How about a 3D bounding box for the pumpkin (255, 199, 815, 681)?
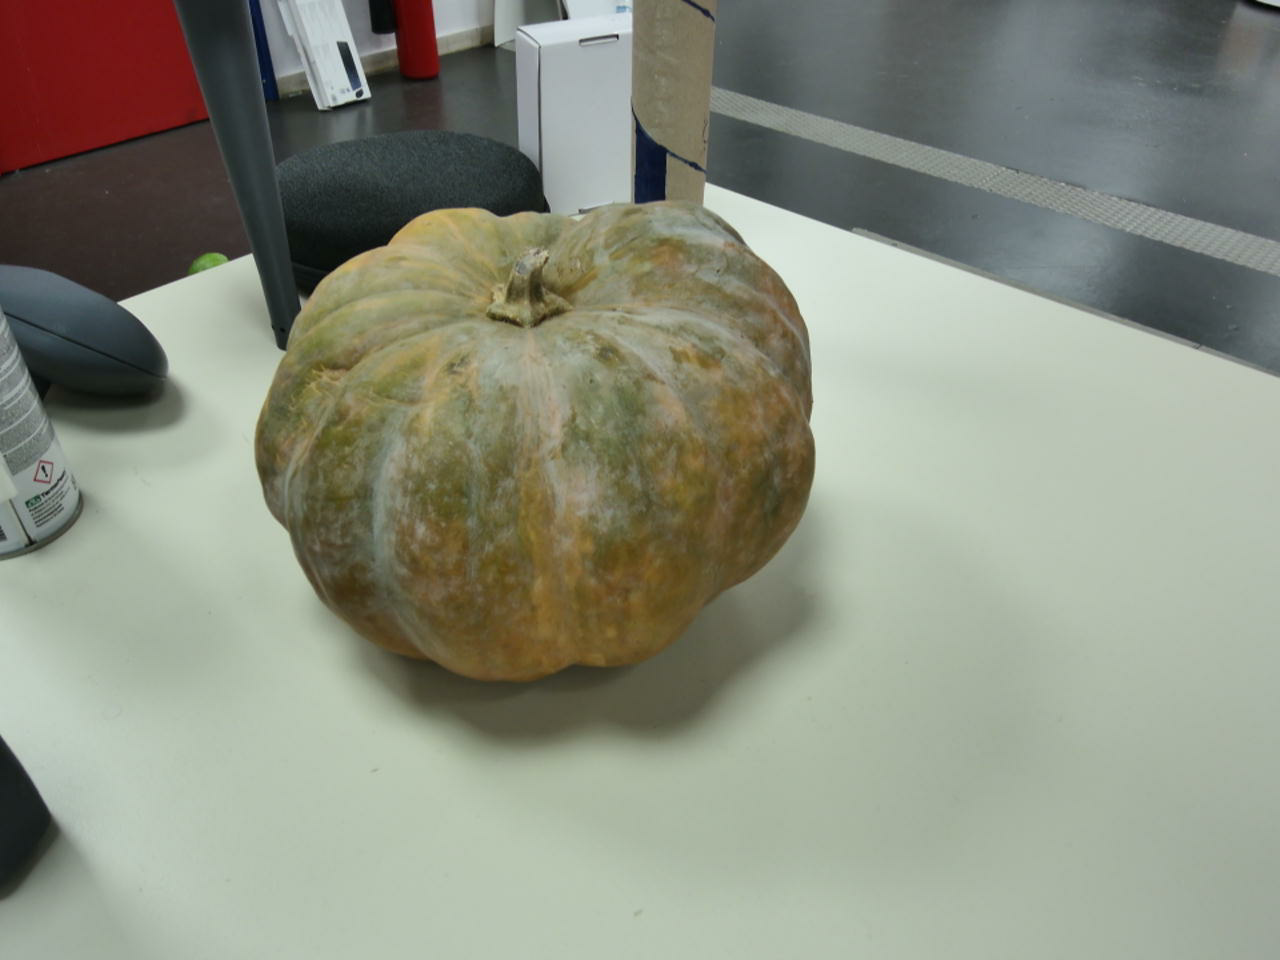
[{"bbox_3d":[-0.044,-0.025,0.449,0.252,0.169,0.251,0,37,0],"label":"pumpkin"}]
